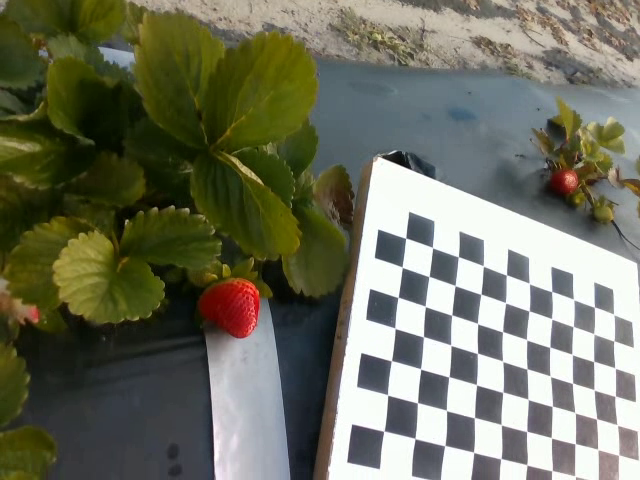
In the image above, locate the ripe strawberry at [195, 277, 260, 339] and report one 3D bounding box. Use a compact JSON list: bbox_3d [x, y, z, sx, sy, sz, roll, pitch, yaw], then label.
[{"bbox_3d":[-0.049,0.044,0.363,0.050,0.055,0.036,17,-43,-28],"label":"ripe strawberry"}]
